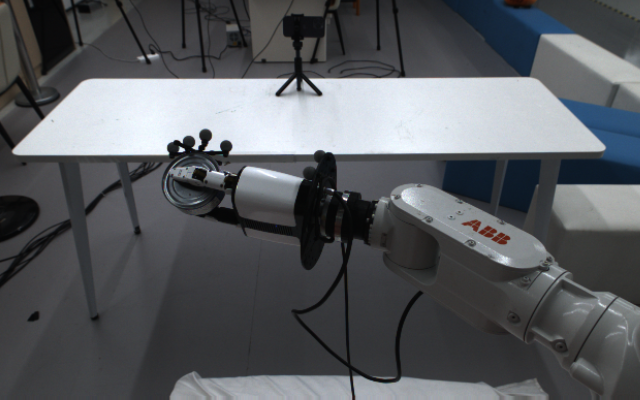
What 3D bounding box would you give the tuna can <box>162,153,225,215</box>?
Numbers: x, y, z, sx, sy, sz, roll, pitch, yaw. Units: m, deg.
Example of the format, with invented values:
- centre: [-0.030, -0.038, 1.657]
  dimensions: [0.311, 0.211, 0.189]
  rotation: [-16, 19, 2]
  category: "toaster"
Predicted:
- centre: [-0.173, -0.021, 0.686]
  dimensions: [0.085, 0.034, 0.085]
  rotation: [-2, 69, 6]
  category: "tuna can"
